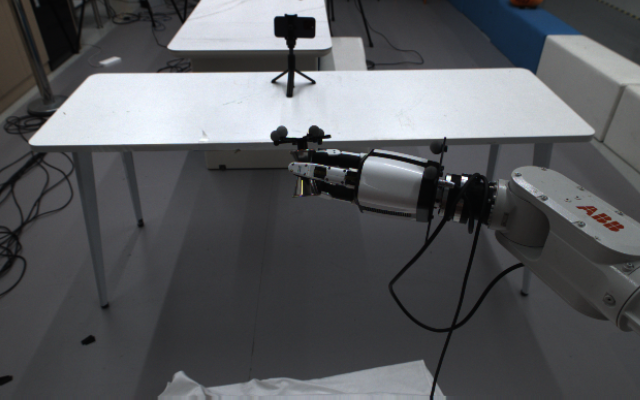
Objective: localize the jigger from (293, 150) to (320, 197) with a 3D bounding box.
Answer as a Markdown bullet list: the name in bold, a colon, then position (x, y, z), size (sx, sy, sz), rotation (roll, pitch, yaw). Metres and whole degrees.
- **jigger**: position (-0.024, -0.040, 0.724), size (0.043, 0.071, 0.043), rotation (-4, 1, 0)
